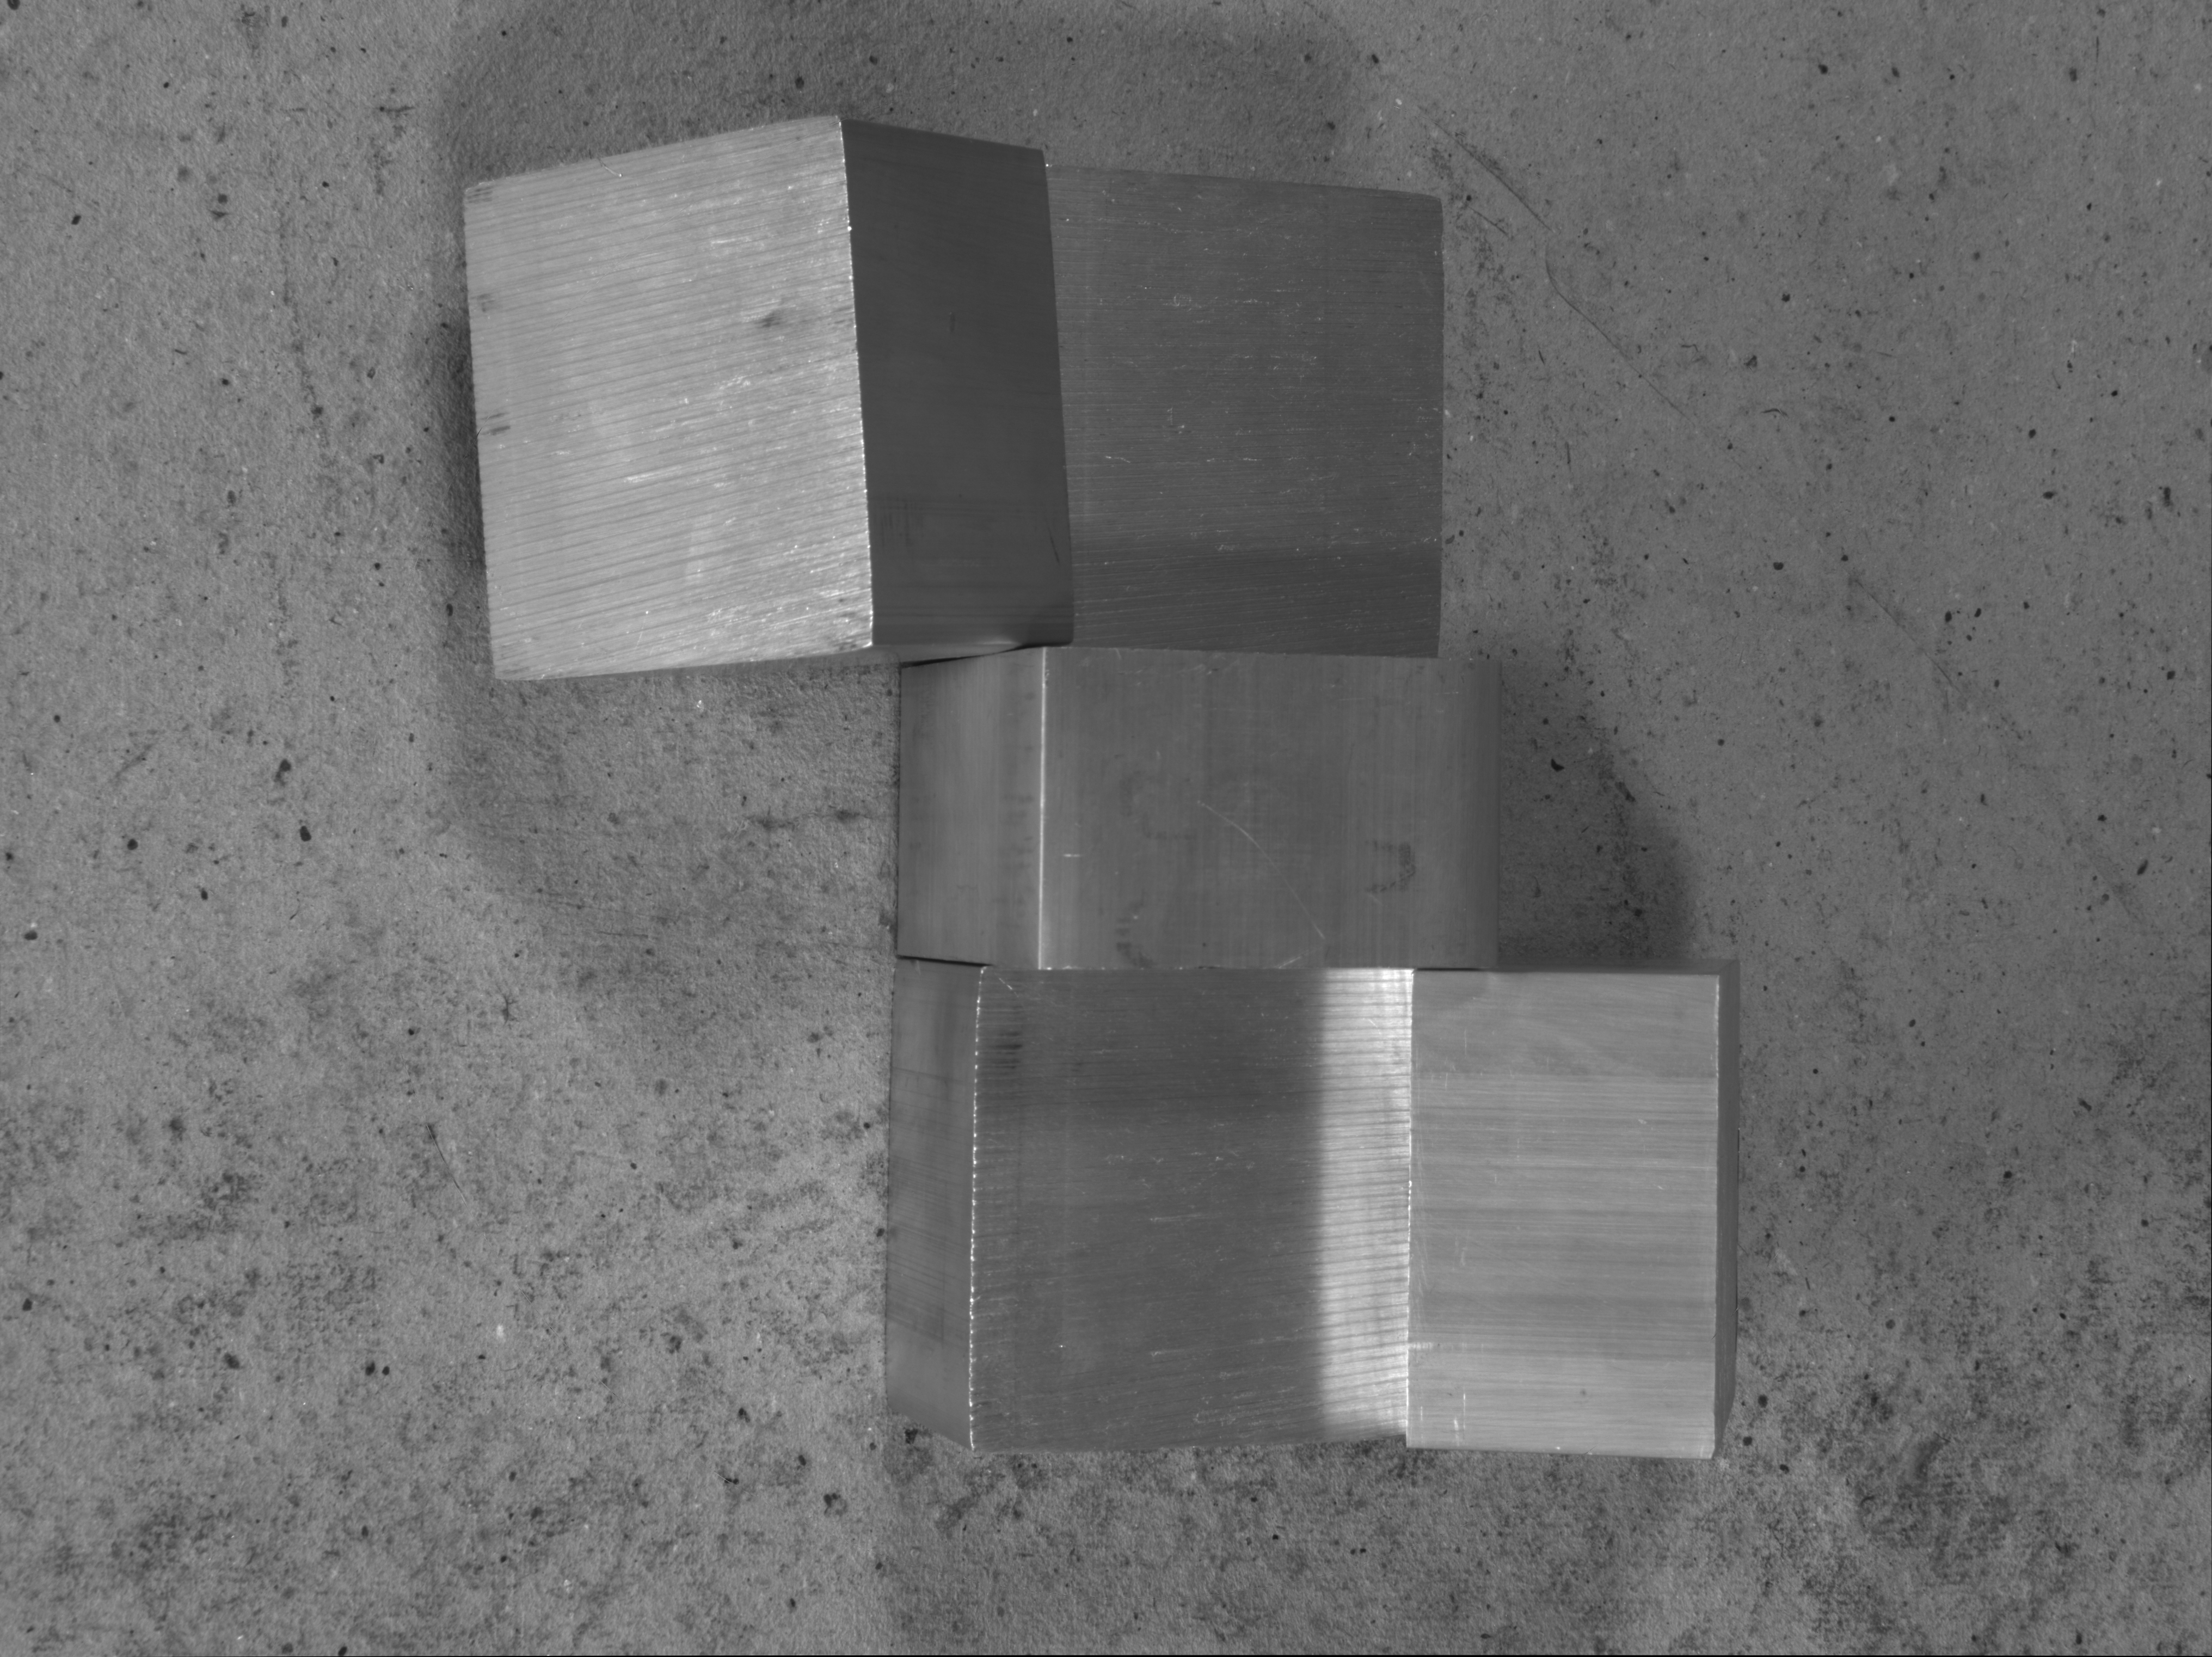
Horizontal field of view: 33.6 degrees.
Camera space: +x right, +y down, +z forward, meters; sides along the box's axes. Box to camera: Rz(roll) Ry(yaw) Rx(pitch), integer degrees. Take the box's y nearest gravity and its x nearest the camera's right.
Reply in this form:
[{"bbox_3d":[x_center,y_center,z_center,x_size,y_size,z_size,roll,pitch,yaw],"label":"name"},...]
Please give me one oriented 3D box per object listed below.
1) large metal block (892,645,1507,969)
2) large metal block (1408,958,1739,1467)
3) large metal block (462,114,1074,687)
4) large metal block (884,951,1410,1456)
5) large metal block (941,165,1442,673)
[{"bbox_3d":[0.014,-0.003,0.619,0.080,0.080,0.050,1,90,-20],"label":"large metal block"},{"bbox_3d":[0.083,0.063,0.636,0.050,0.080,0.080,0,90,12],"label":"large metal block"},{"bbox_3d":[-0.054,-0.065,0.587,0.050,0.080,0.080,-5,92,-54],"label":"large metal block"},{"bbox_3d":[0.008,0.062,0.633,0.080,0.050,0.080,1,90,-19],"label":"large metal block"},{"bbox_3d":[0.011,-0.068,0.632,0.080,0.050,0.080,1,89,-19],"label":"large metal block"}]
